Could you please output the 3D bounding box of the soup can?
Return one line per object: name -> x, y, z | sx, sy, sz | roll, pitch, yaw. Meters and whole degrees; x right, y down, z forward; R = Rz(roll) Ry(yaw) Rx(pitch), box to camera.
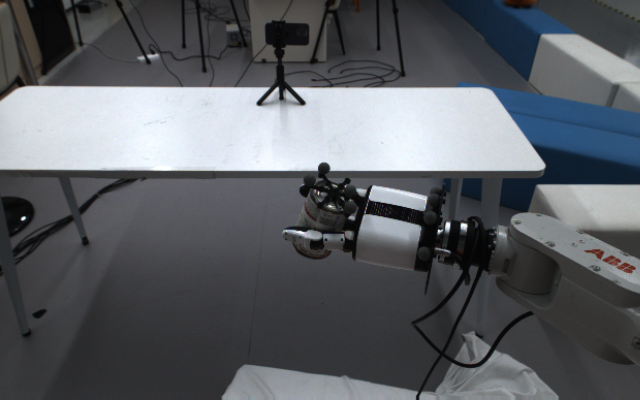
soup can -> 0.003, 0.030, 0.712 | 0.067, 0.101, 0.067 | 14, 39, -12
